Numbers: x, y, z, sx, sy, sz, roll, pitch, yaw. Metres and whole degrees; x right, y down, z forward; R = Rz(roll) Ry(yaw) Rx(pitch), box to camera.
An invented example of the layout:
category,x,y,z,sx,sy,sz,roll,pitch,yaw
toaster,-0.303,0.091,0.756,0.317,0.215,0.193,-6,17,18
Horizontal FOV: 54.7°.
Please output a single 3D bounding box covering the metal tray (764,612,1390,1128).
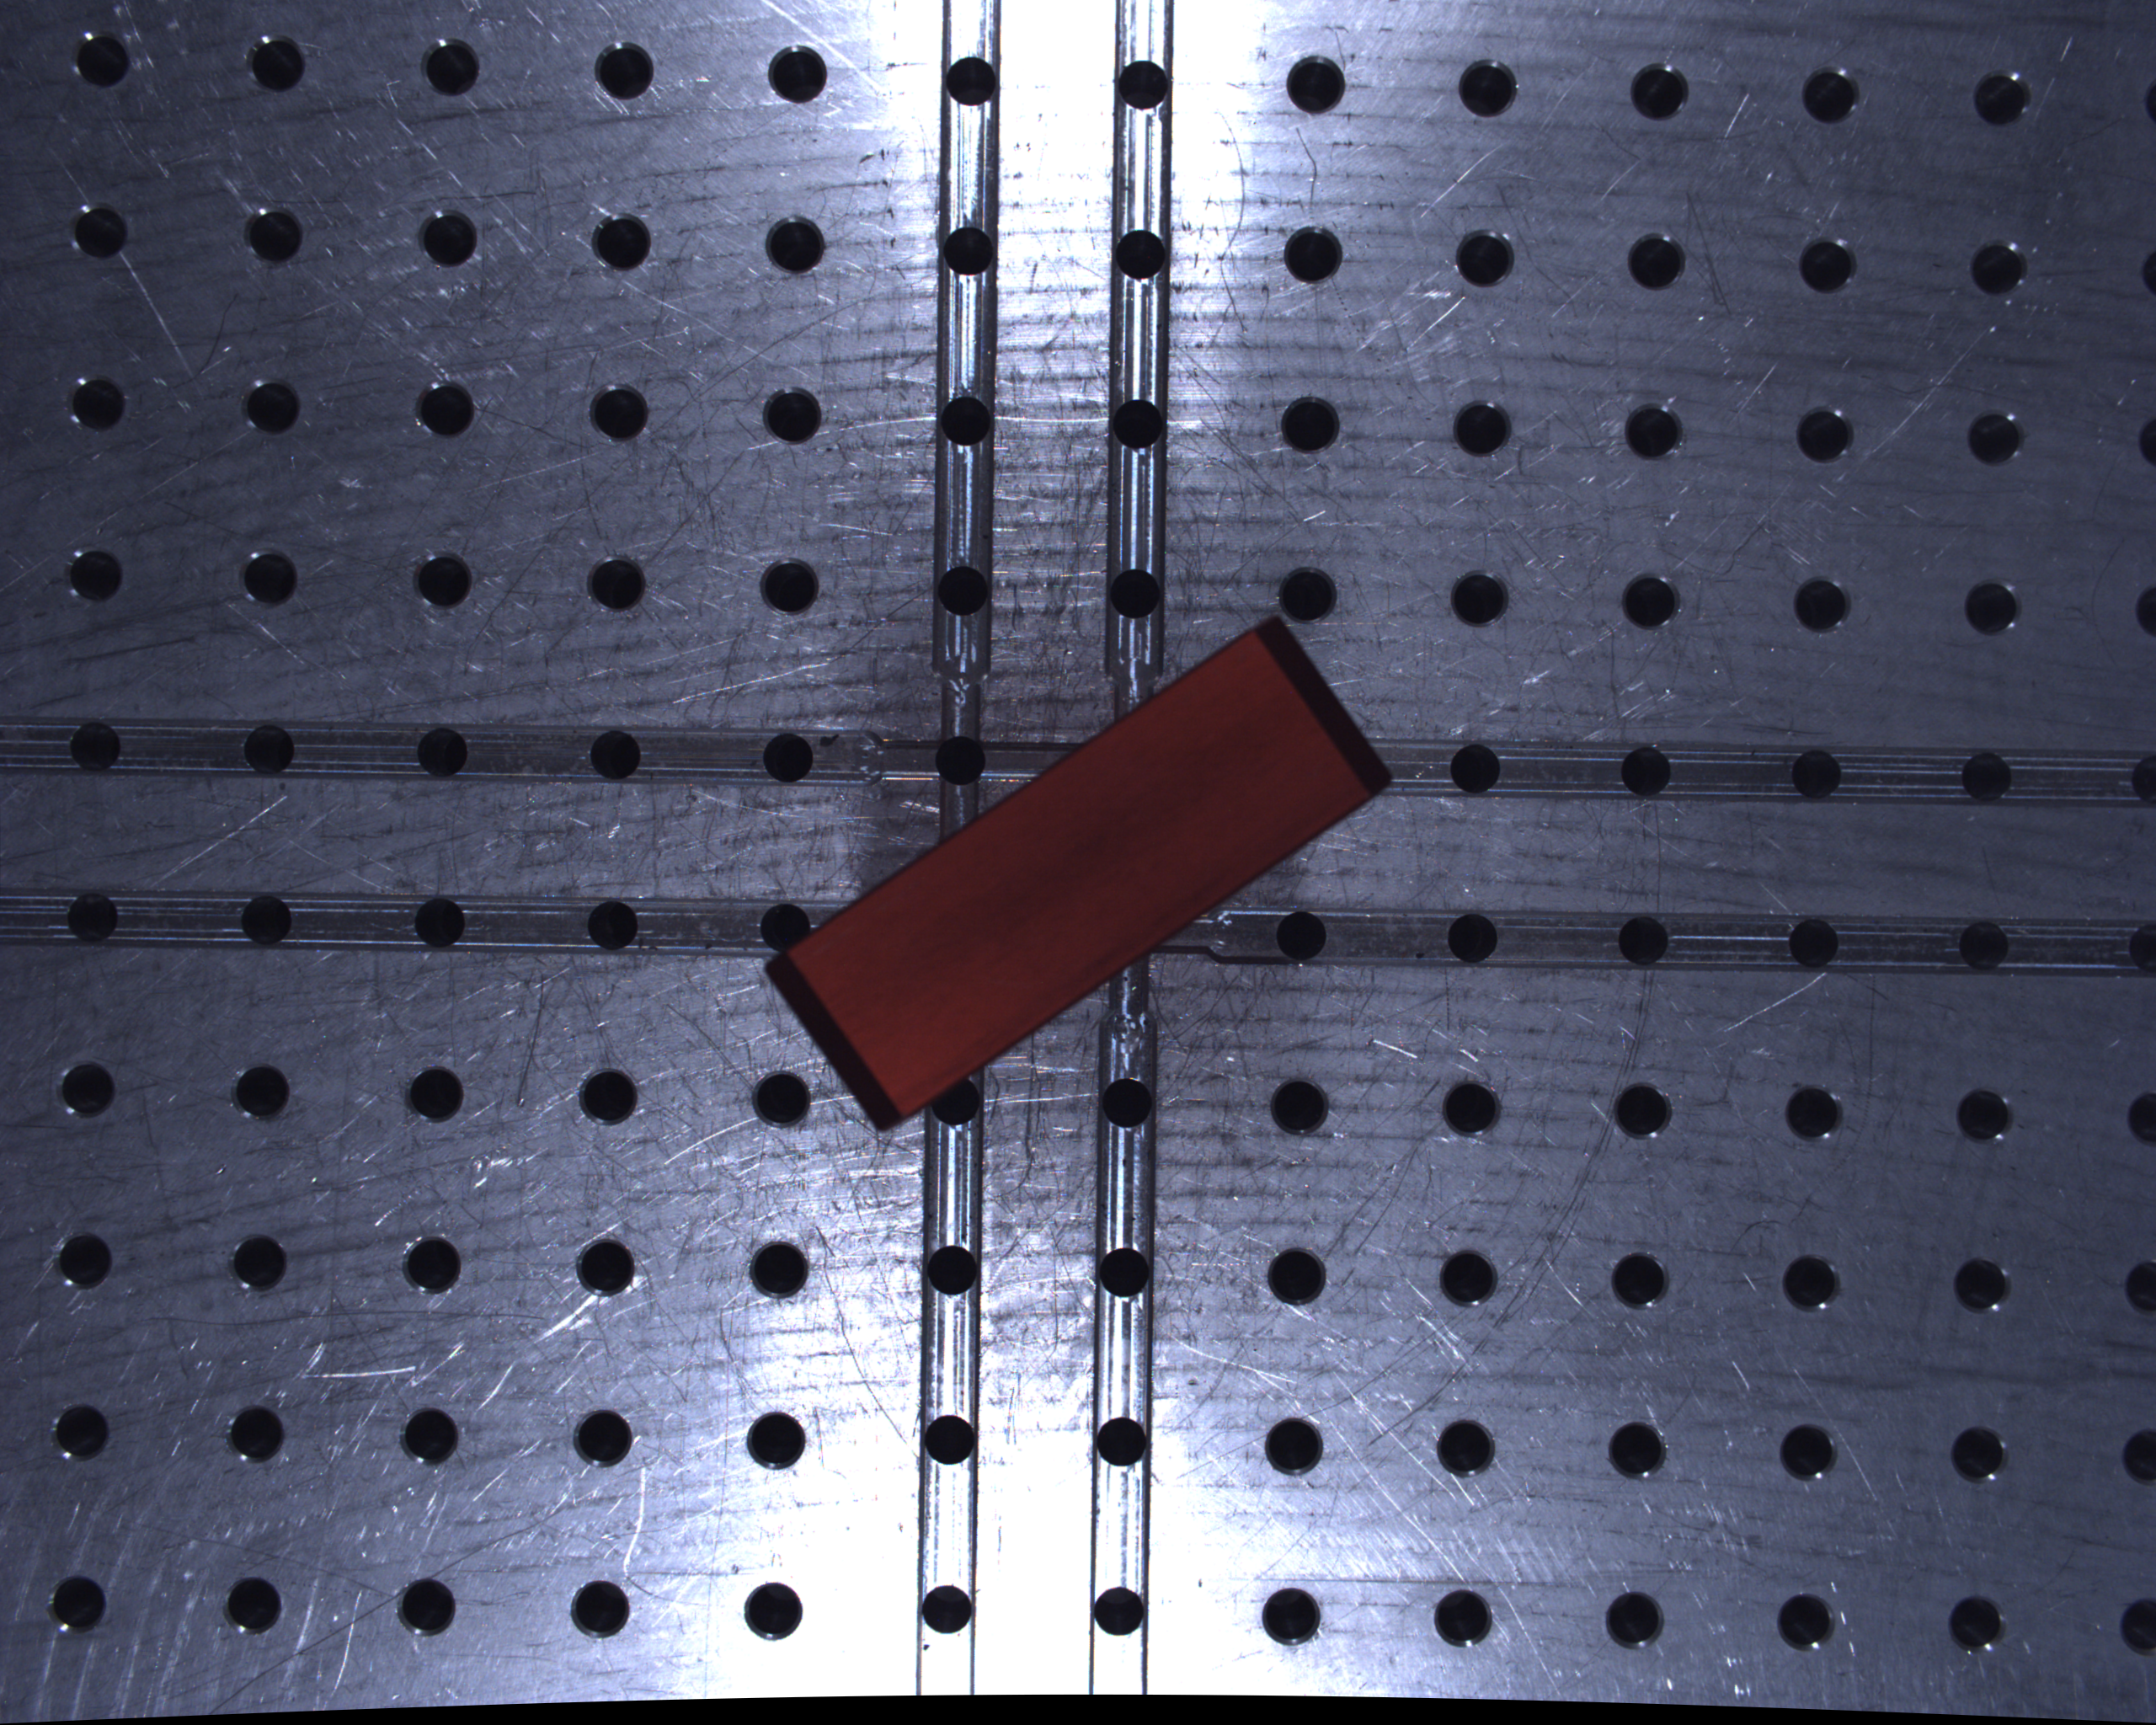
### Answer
category,x,y,z,sx,sy,sz,roll,pitch,yaw
metal tray,0.000,0.001,0.361,0.090,0.130,0.030,-35,90,0
